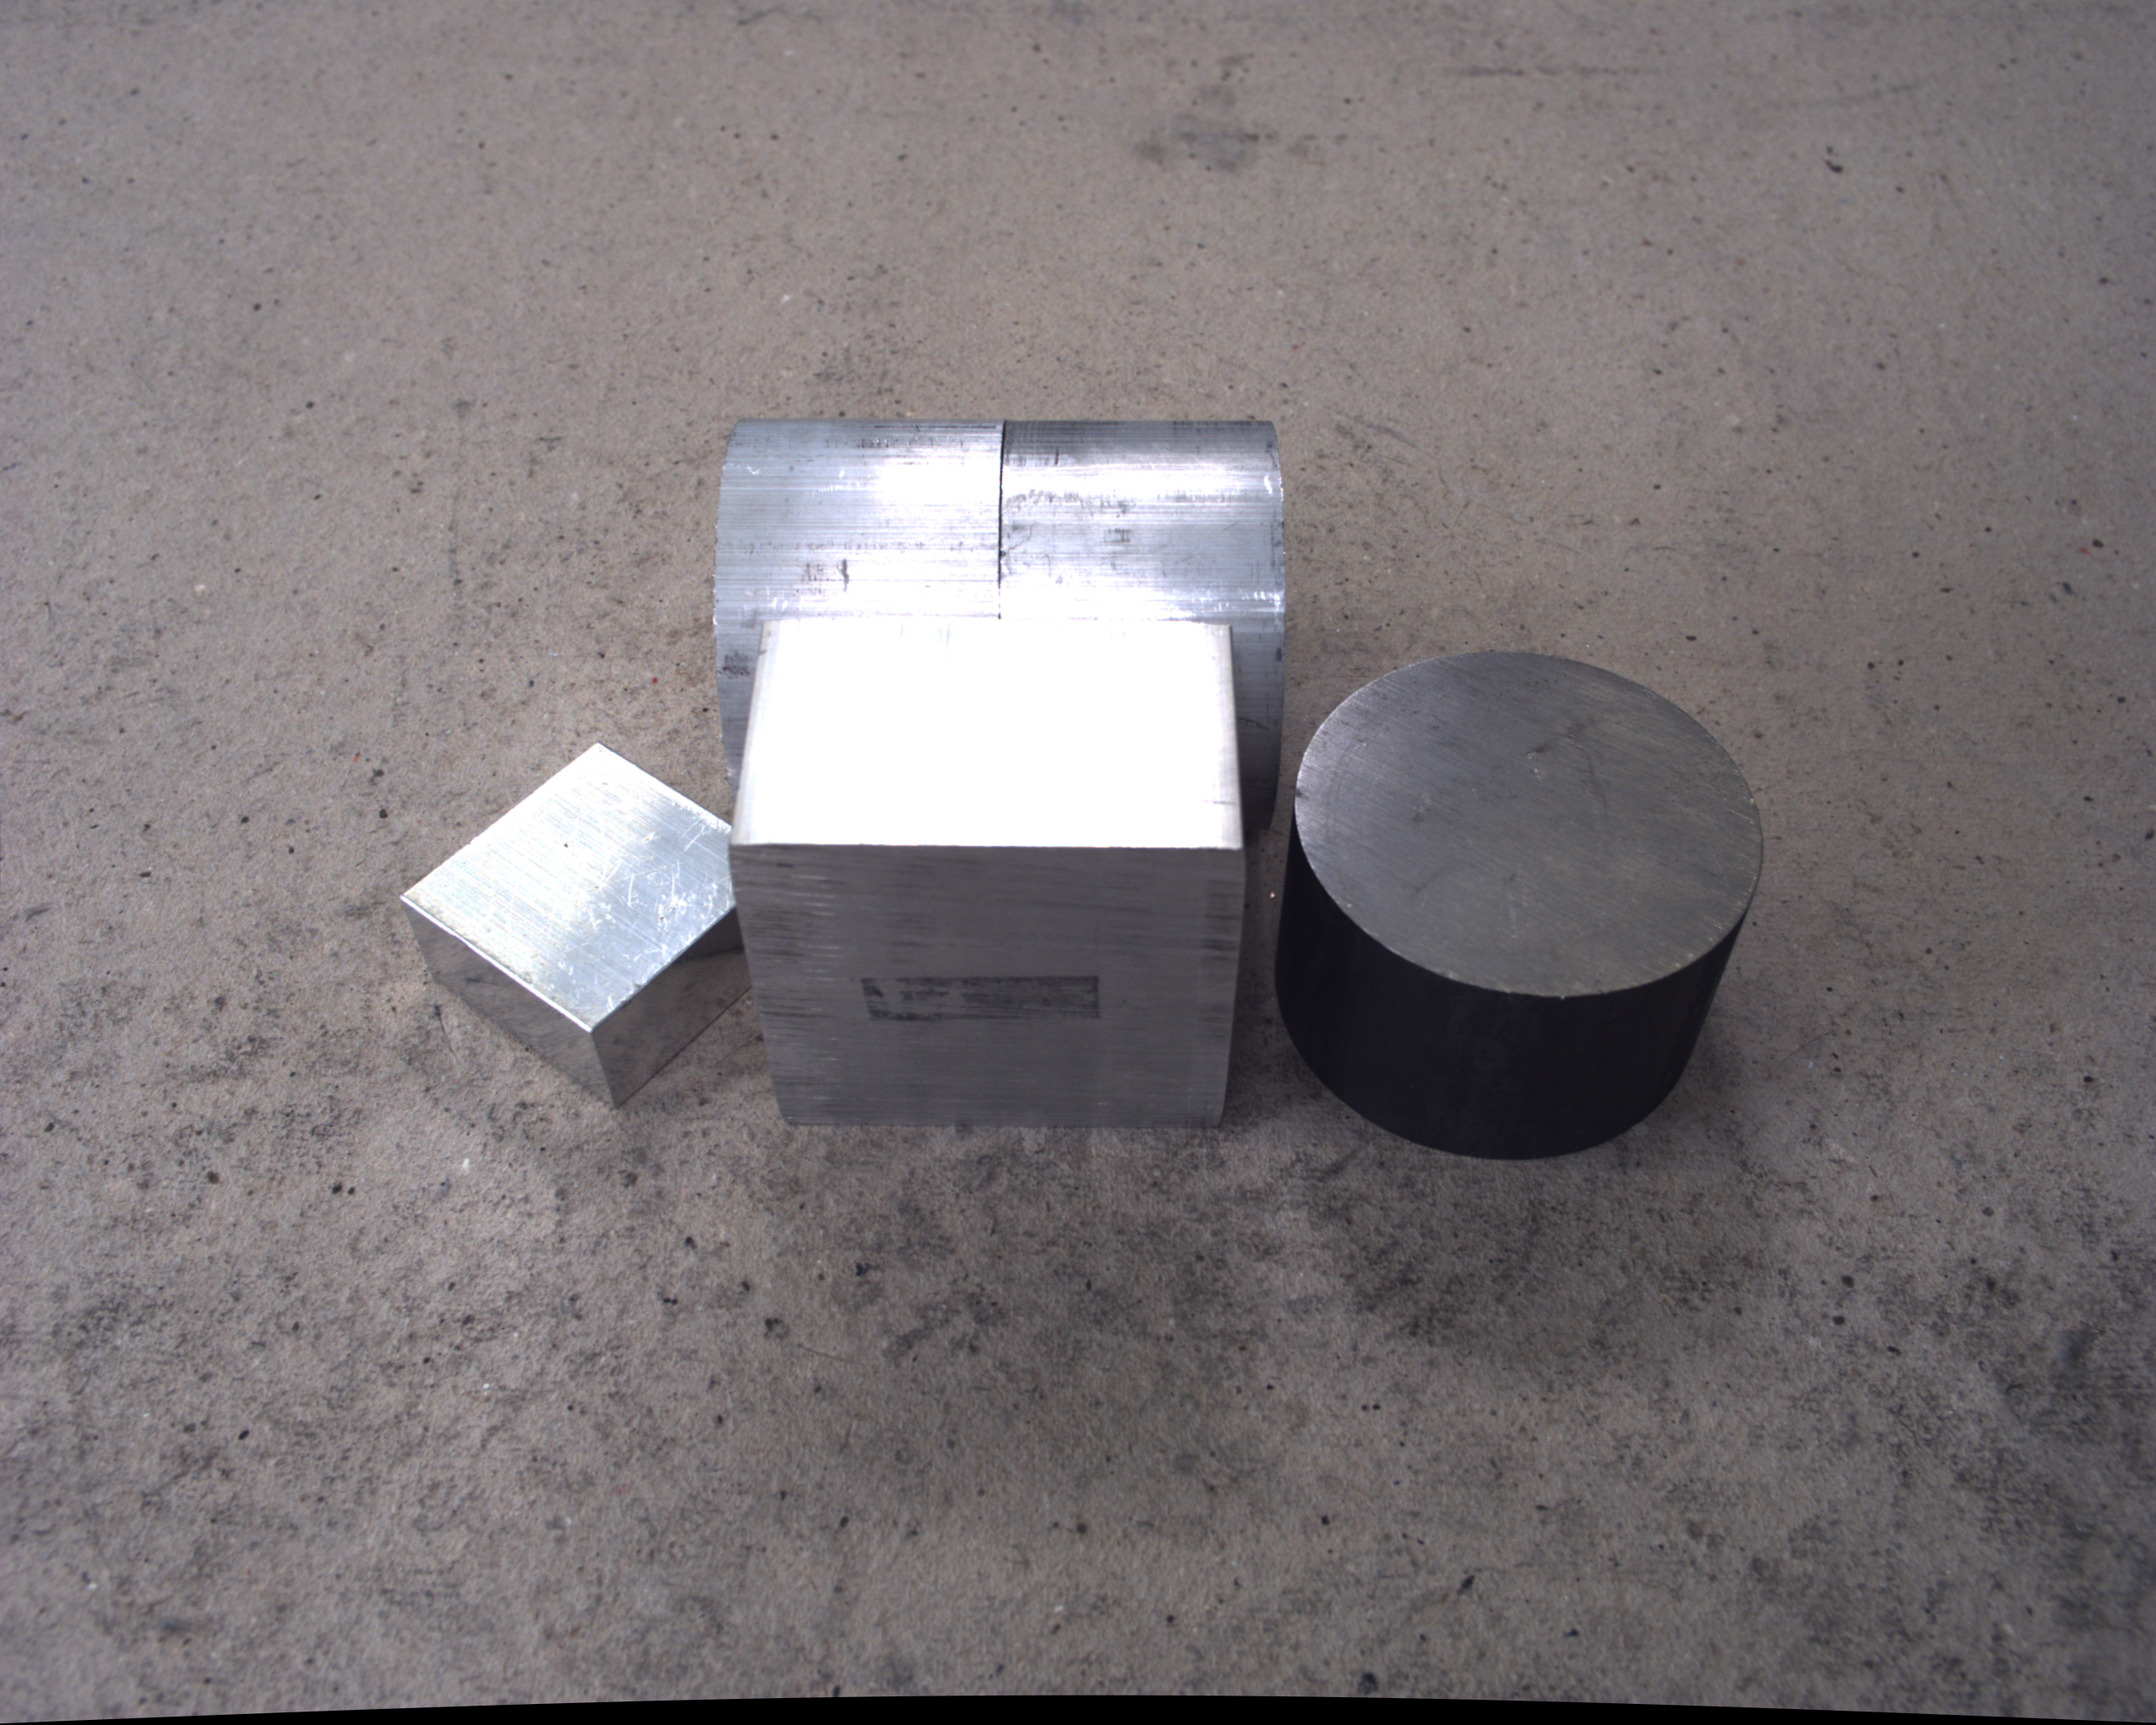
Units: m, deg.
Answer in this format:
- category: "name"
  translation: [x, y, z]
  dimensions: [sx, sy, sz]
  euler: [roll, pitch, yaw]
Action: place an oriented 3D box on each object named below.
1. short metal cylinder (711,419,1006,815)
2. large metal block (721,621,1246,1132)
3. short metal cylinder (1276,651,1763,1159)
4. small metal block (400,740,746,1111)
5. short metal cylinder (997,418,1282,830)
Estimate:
- category: "short metal cylinder"
  translation: [-0.039, -0.046, 0.408]
  dimensions: [0.050, 0.080, 0.080]
  euler: [1, 50, 0]
- category: "large metal block"
  translation: [-0.014, 0.004, 0.366]
  dimensions: [0.081, 0.080, 0.050]
  euler: [1, 50, 0]
- category: "short metal cylinder"
  translation: [0.078, 0.007, 0.383]
  dimensions: [0.081, 0.050, 0.080]
  euler: [0, 50, 0]
- category: "small metal block"
  translation: [-0.089, 0.011, 0.396]
  dimensions: [0.050, 0.025, 0.050]
  euler: [31, 56, 23]
- category: "short metal cylinder"
  translation: [0.011, -0.046, 0.408]
  dimensions: [0.050, 0.080, 0.080]
  euler: [1, 50, 0]
